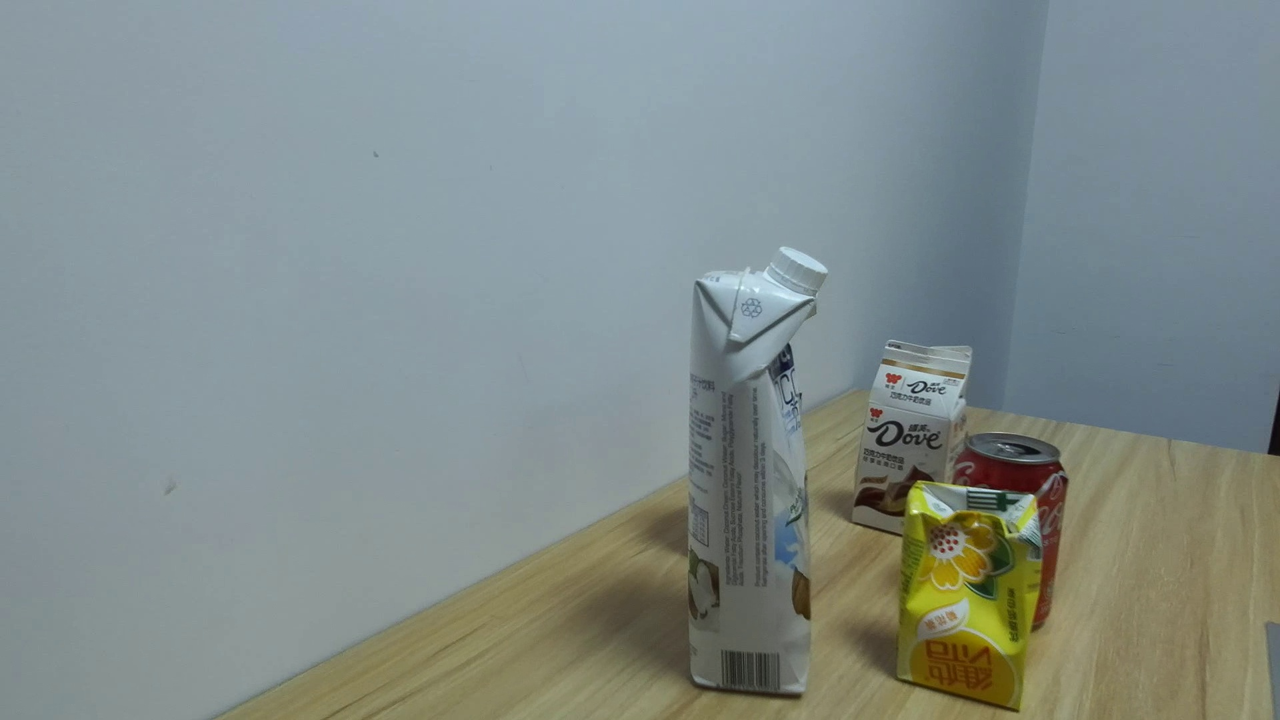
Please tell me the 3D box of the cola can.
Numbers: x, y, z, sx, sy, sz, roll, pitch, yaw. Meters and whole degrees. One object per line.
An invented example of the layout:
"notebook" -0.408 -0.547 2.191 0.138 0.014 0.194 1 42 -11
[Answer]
"cola can" 0.243 0.111 0.473 0.068 0.120 0.068 0 13 0

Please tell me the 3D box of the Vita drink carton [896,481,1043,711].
"Vita drink carton" 0.184 0.130 0.399 0.071 0.109 0.046 5 10 26

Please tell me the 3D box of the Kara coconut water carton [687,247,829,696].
"Kara coconut water carton" 0.067 0.060 0.402 0.071 0.244 0.100 2 14 12
